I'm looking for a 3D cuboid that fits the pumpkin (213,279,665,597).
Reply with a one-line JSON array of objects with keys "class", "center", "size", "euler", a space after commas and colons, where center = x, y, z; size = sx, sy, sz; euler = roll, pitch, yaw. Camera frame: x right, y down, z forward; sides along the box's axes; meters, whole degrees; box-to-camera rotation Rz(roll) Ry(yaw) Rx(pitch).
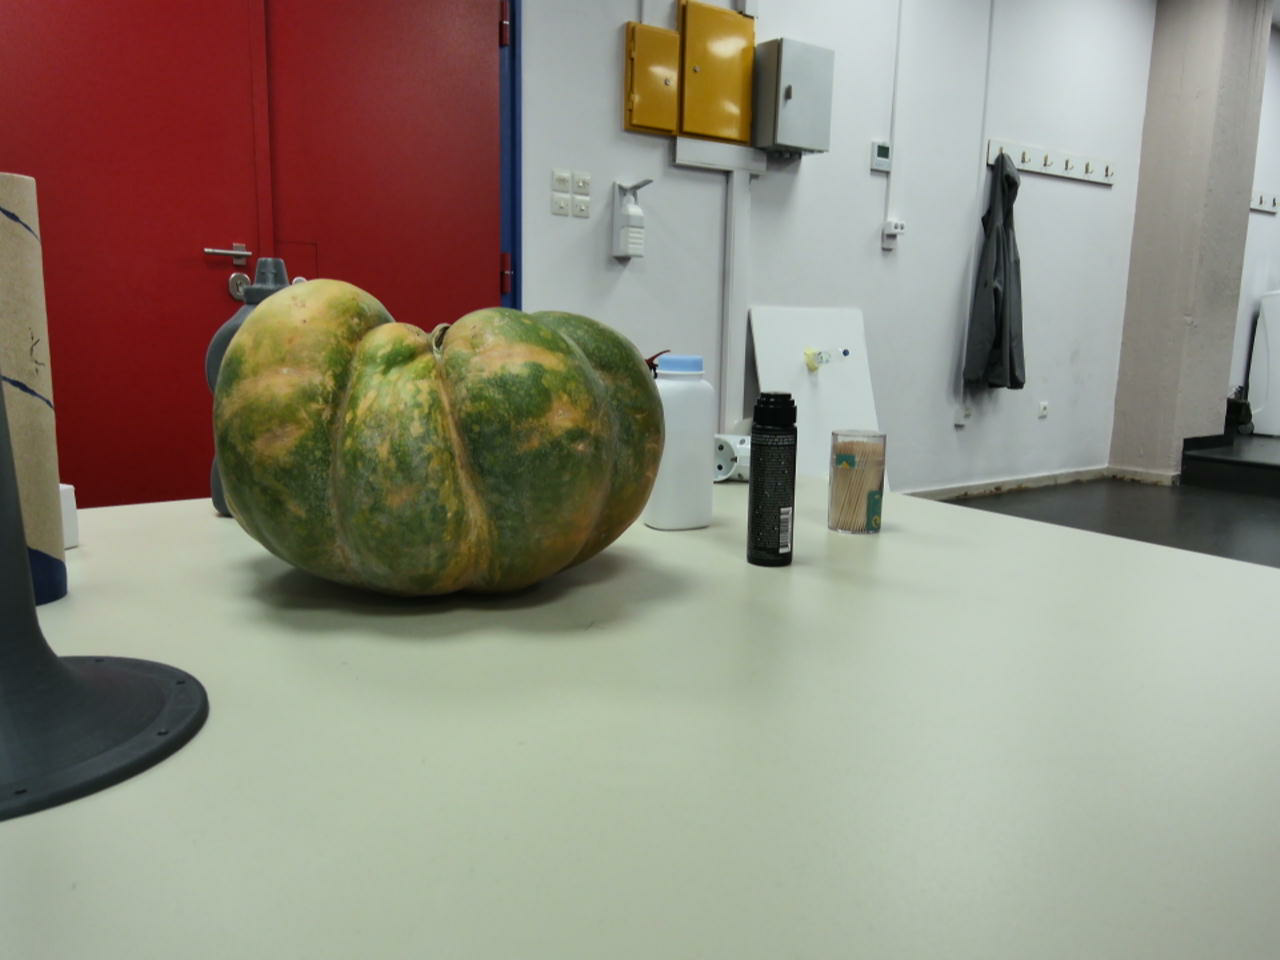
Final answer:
[{"class": "pumpkin", "center": [-0.122, -0.025, 0.586], "size": [0.270, 0.173, 0.237], "euler": [1, 8, 1]}]
